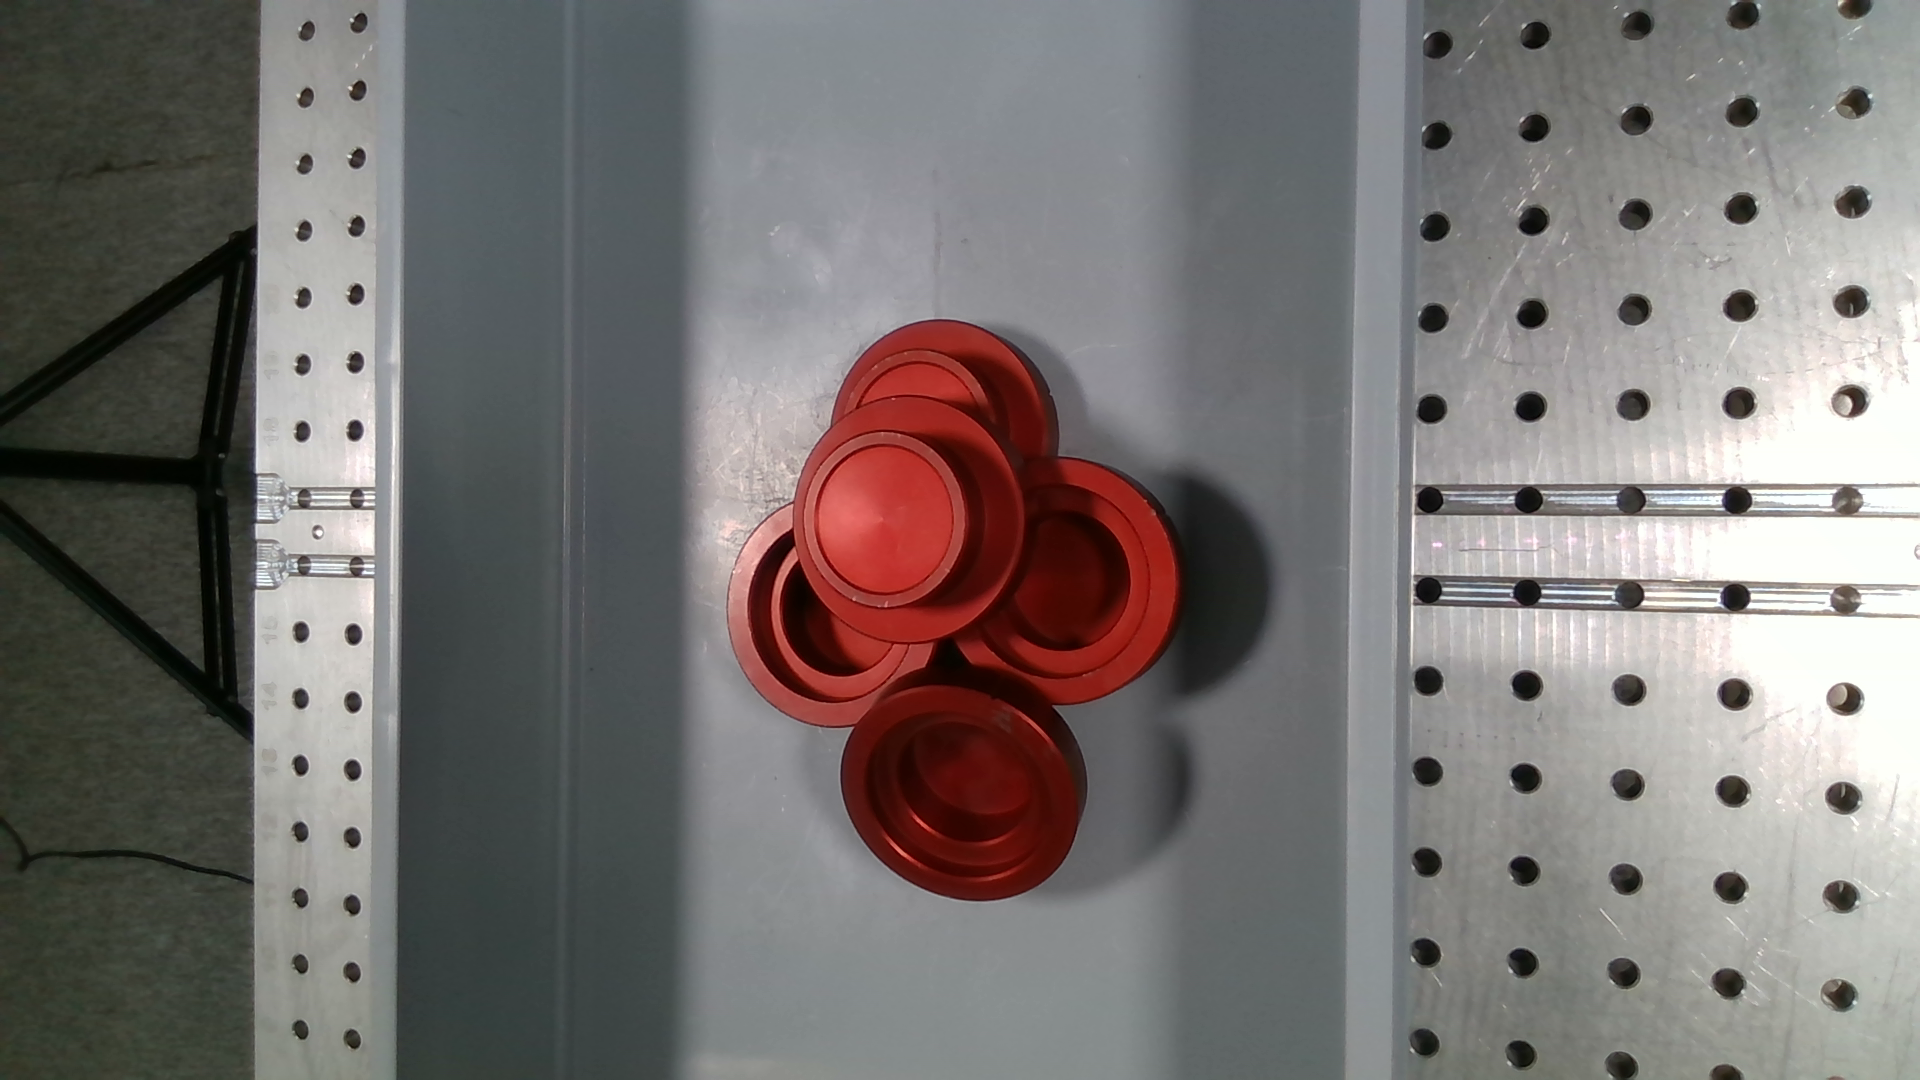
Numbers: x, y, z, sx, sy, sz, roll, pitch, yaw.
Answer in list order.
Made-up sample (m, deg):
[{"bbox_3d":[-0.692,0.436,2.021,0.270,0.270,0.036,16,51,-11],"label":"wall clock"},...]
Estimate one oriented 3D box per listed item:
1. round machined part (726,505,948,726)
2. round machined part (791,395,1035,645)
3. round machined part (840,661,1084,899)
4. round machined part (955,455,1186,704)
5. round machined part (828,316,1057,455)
[{"bbox_3d":[-0.048,0.029,0.593,0.098,0.042,0.098,0,91,20],"label":"round machined part"},{"bbox_3d":[-0.023,-0.008,0.537,0.098,0.042,0.098,0,91,20],"label":"round machined part"},{"bbox_3d":[0.004,0.094,0.563,0.098,0.042,0.098,6,112,15],"label":"round machined part"},{"bbox_3d":[0.044,0.015,0.559,0.098,0.042,0.098,0,91,20],"label":"round machined part"},{"bbox_3d":[-0.012,-0.045,0.577,0.098,0.042,0.098,0,91,20],"label":"round machined part"}]
